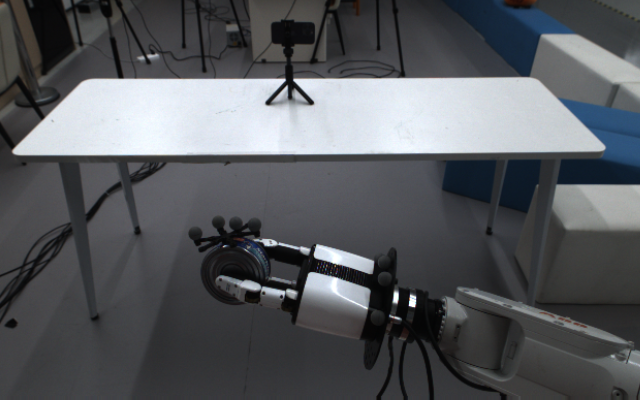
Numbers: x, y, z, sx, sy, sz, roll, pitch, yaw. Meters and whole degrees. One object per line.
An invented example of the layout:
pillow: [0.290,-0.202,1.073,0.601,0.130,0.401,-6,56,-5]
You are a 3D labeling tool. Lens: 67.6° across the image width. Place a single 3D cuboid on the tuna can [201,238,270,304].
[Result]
tuna can: [-0.105,0.098,0.622,0.085,0.085,0.034,6,18,6]
